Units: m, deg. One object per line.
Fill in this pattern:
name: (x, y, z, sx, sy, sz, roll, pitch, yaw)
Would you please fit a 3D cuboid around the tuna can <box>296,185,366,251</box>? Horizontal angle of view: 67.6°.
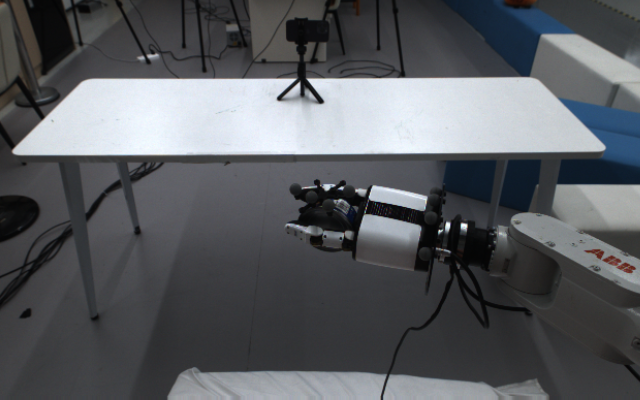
tuna can: (0.014, 0.034, 0.711, 0.085, 0.085, 0.034, 11, 39, 13)
